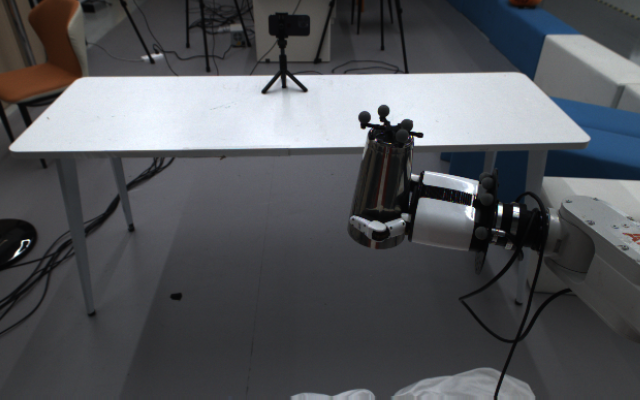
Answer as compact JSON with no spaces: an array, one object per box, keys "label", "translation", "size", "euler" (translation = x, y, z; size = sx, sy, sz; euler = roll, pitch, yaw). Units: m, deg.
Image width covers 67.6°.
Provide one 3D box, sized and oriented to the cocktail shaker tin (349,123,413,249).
[{"label":"cocktail shaker tin","translation":[0.095,-0.022,0.726],"size":[0.093,0.170,0.093],"euler":[3,34,-2]}]
